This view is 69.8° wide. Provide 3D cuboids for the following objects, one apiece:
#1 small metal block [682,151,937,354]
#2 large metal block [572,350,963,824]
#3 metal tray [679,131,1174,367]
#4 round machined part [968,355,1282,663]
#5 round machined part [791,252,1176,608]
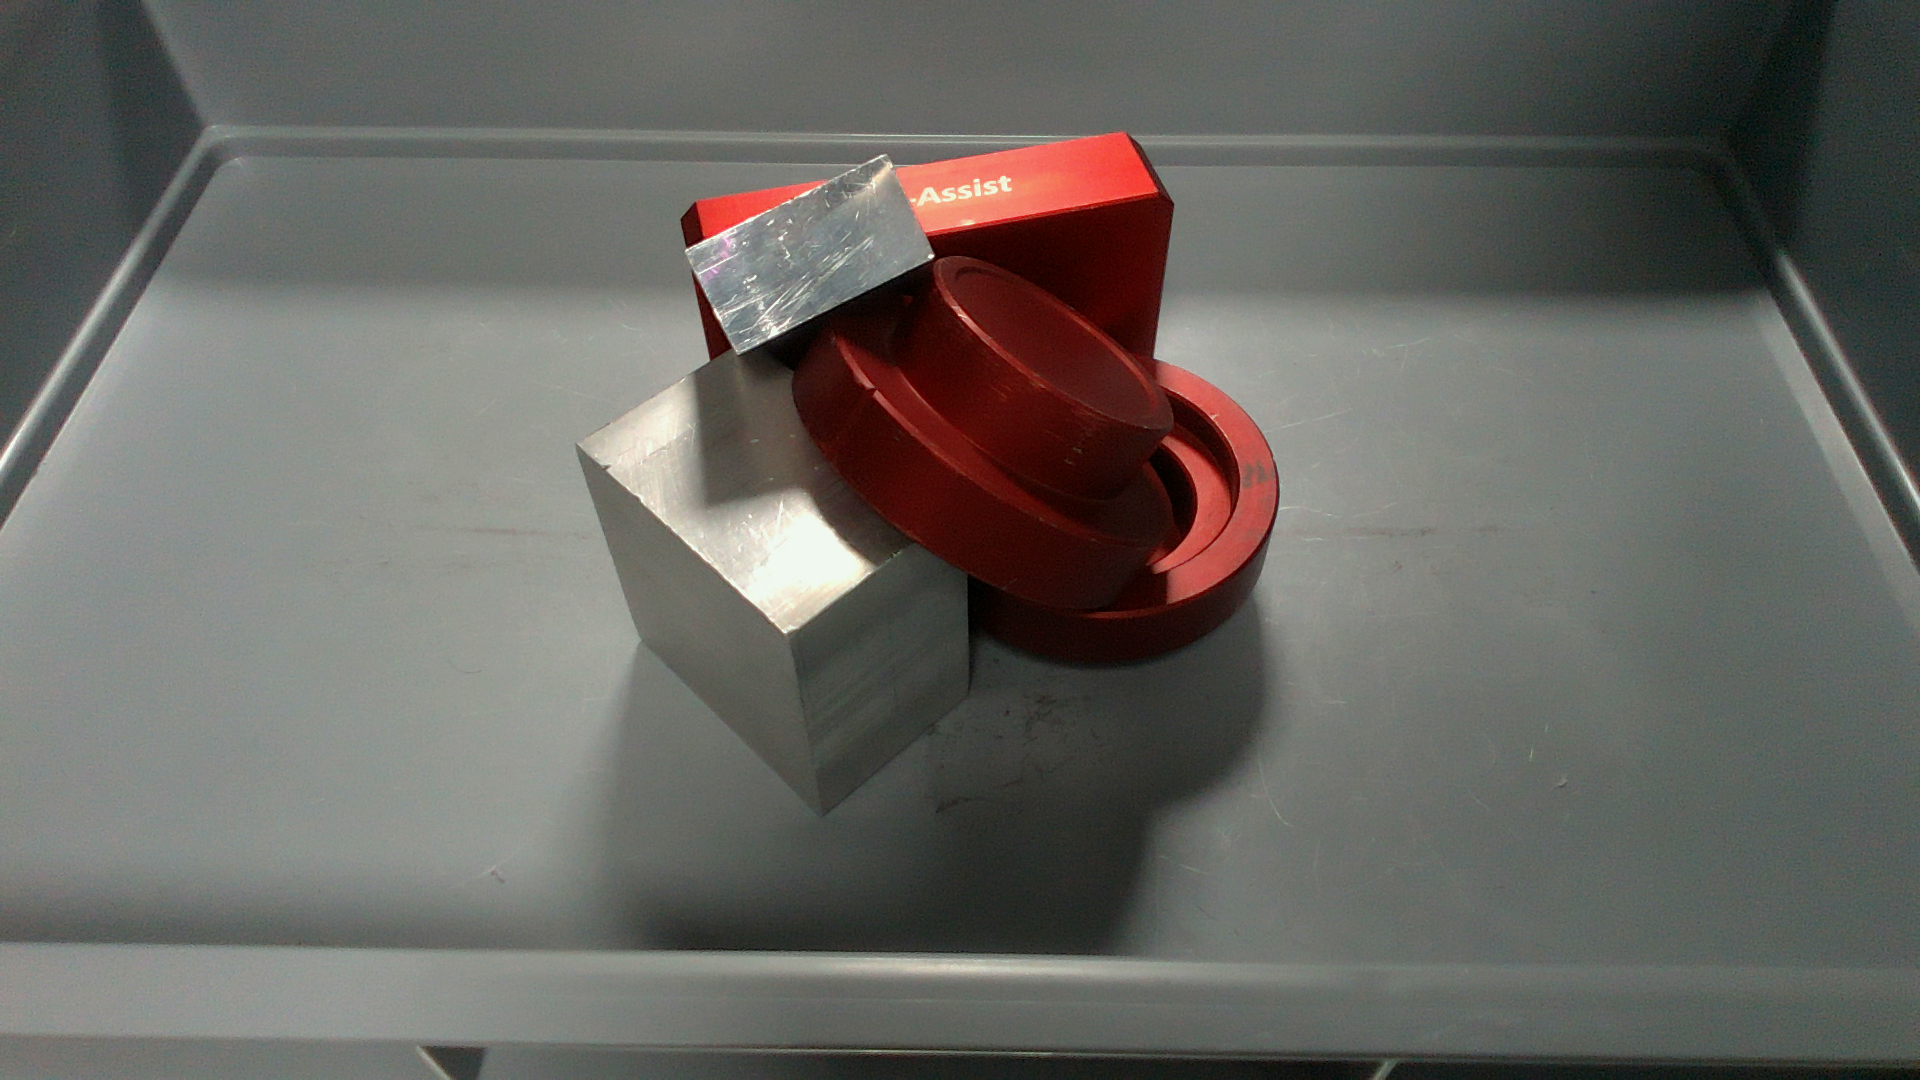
[{"bbox_3d":[-0.038,-0.068,0.327,0.050,0.025,0.050,-27,15,-5],"label":"small metal block"},{"bbox_3d":[-0.045,0.010,0.346,0.050,0.080,0.080,-36,59,-26],"label":"large metal block"},{"bbox_3d":[-0.008,-0.063,0.400,0.130,0.090,0.030,-12,51,-10],"label":"metal tray"},{"bbox_3d":[0.037,-0.005,0.385,0.098,0.042,0.098,0,50,0],"label":"round machined part"},{"bbox_3d":[0.012,-0.032,0.330,0.098,0.042,0.098,30,25,-15],"label":"round machined part"}]
